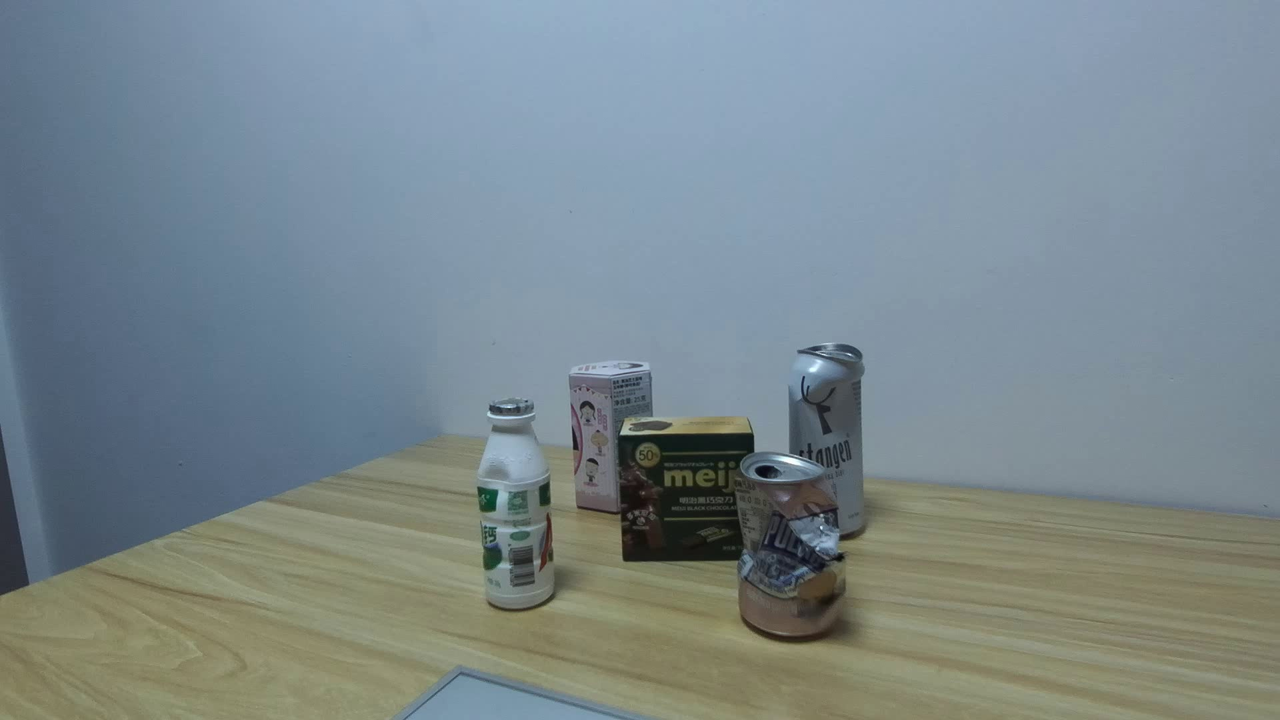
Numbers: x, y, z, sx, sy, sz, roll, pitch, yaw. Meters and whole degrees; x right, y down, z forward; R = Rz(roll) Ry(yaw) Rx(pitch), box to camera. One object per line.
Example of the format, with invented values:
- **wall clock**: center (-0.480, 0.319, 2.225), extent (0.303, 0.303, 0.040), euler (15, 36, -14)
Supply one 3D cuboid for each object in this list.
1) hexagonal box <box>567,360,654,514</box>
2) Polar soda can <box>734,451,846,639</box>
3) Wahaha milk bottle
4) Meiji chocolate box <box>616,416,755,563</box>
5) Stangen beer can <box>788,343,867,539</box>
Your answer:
- **hexagonal box**: center (-0.028, 0.074, 0.705), extent (0.084, 0.136, 0.091), euler (-2, 9, -2)
- **Polar soda can**: center (0.097, 0.121, 0.460), extent (0.074, 0.114, 0.070), euler (-1, 16, 17)
- **Wahaha milk bottle**: center (-0.090, 0.108, 0.511), extent (0.053, 0.136, 0.053), euler (-1, 8, 0)
- **Meiji chocolate box**: center (0.039, 0.106, 0.583), extent (0.110, 0.109, 0.056), euler (-1, 10, 3)
- **Stangen beer can**: center (0.162, 0.070, 0.610), extent (0.065, 0.162, 0.077), euler (-1, 11, 11)
